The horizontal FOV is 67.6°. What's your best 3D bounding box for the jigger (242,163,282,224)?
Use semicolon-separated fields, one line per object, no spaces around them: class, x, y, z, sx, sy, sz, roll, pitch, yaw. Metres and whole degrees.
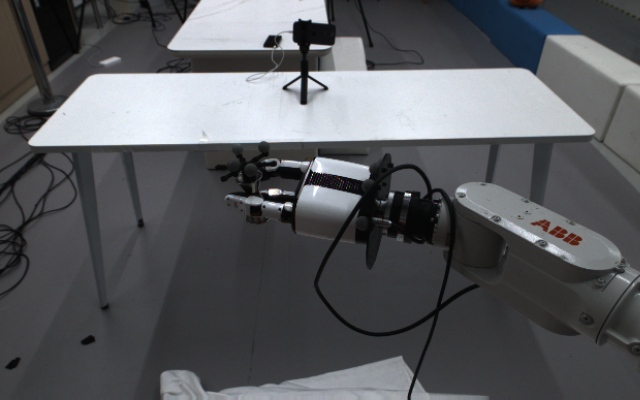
jigger;-0.092;-0.006;0.697;0.043;0.071;0.043;-9;31;5
